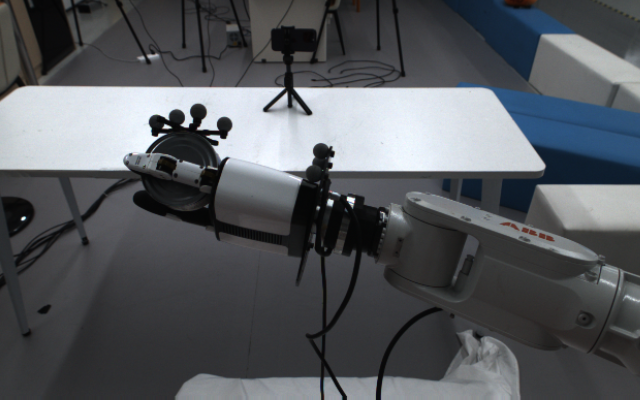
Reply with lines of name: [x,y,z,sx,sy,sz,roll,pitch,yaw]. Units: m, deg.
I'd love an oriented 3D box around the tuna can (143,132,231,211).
tuna can: [-0.152,-0.031,0.543,0.085,0.034,0.085,-1,76,3]
